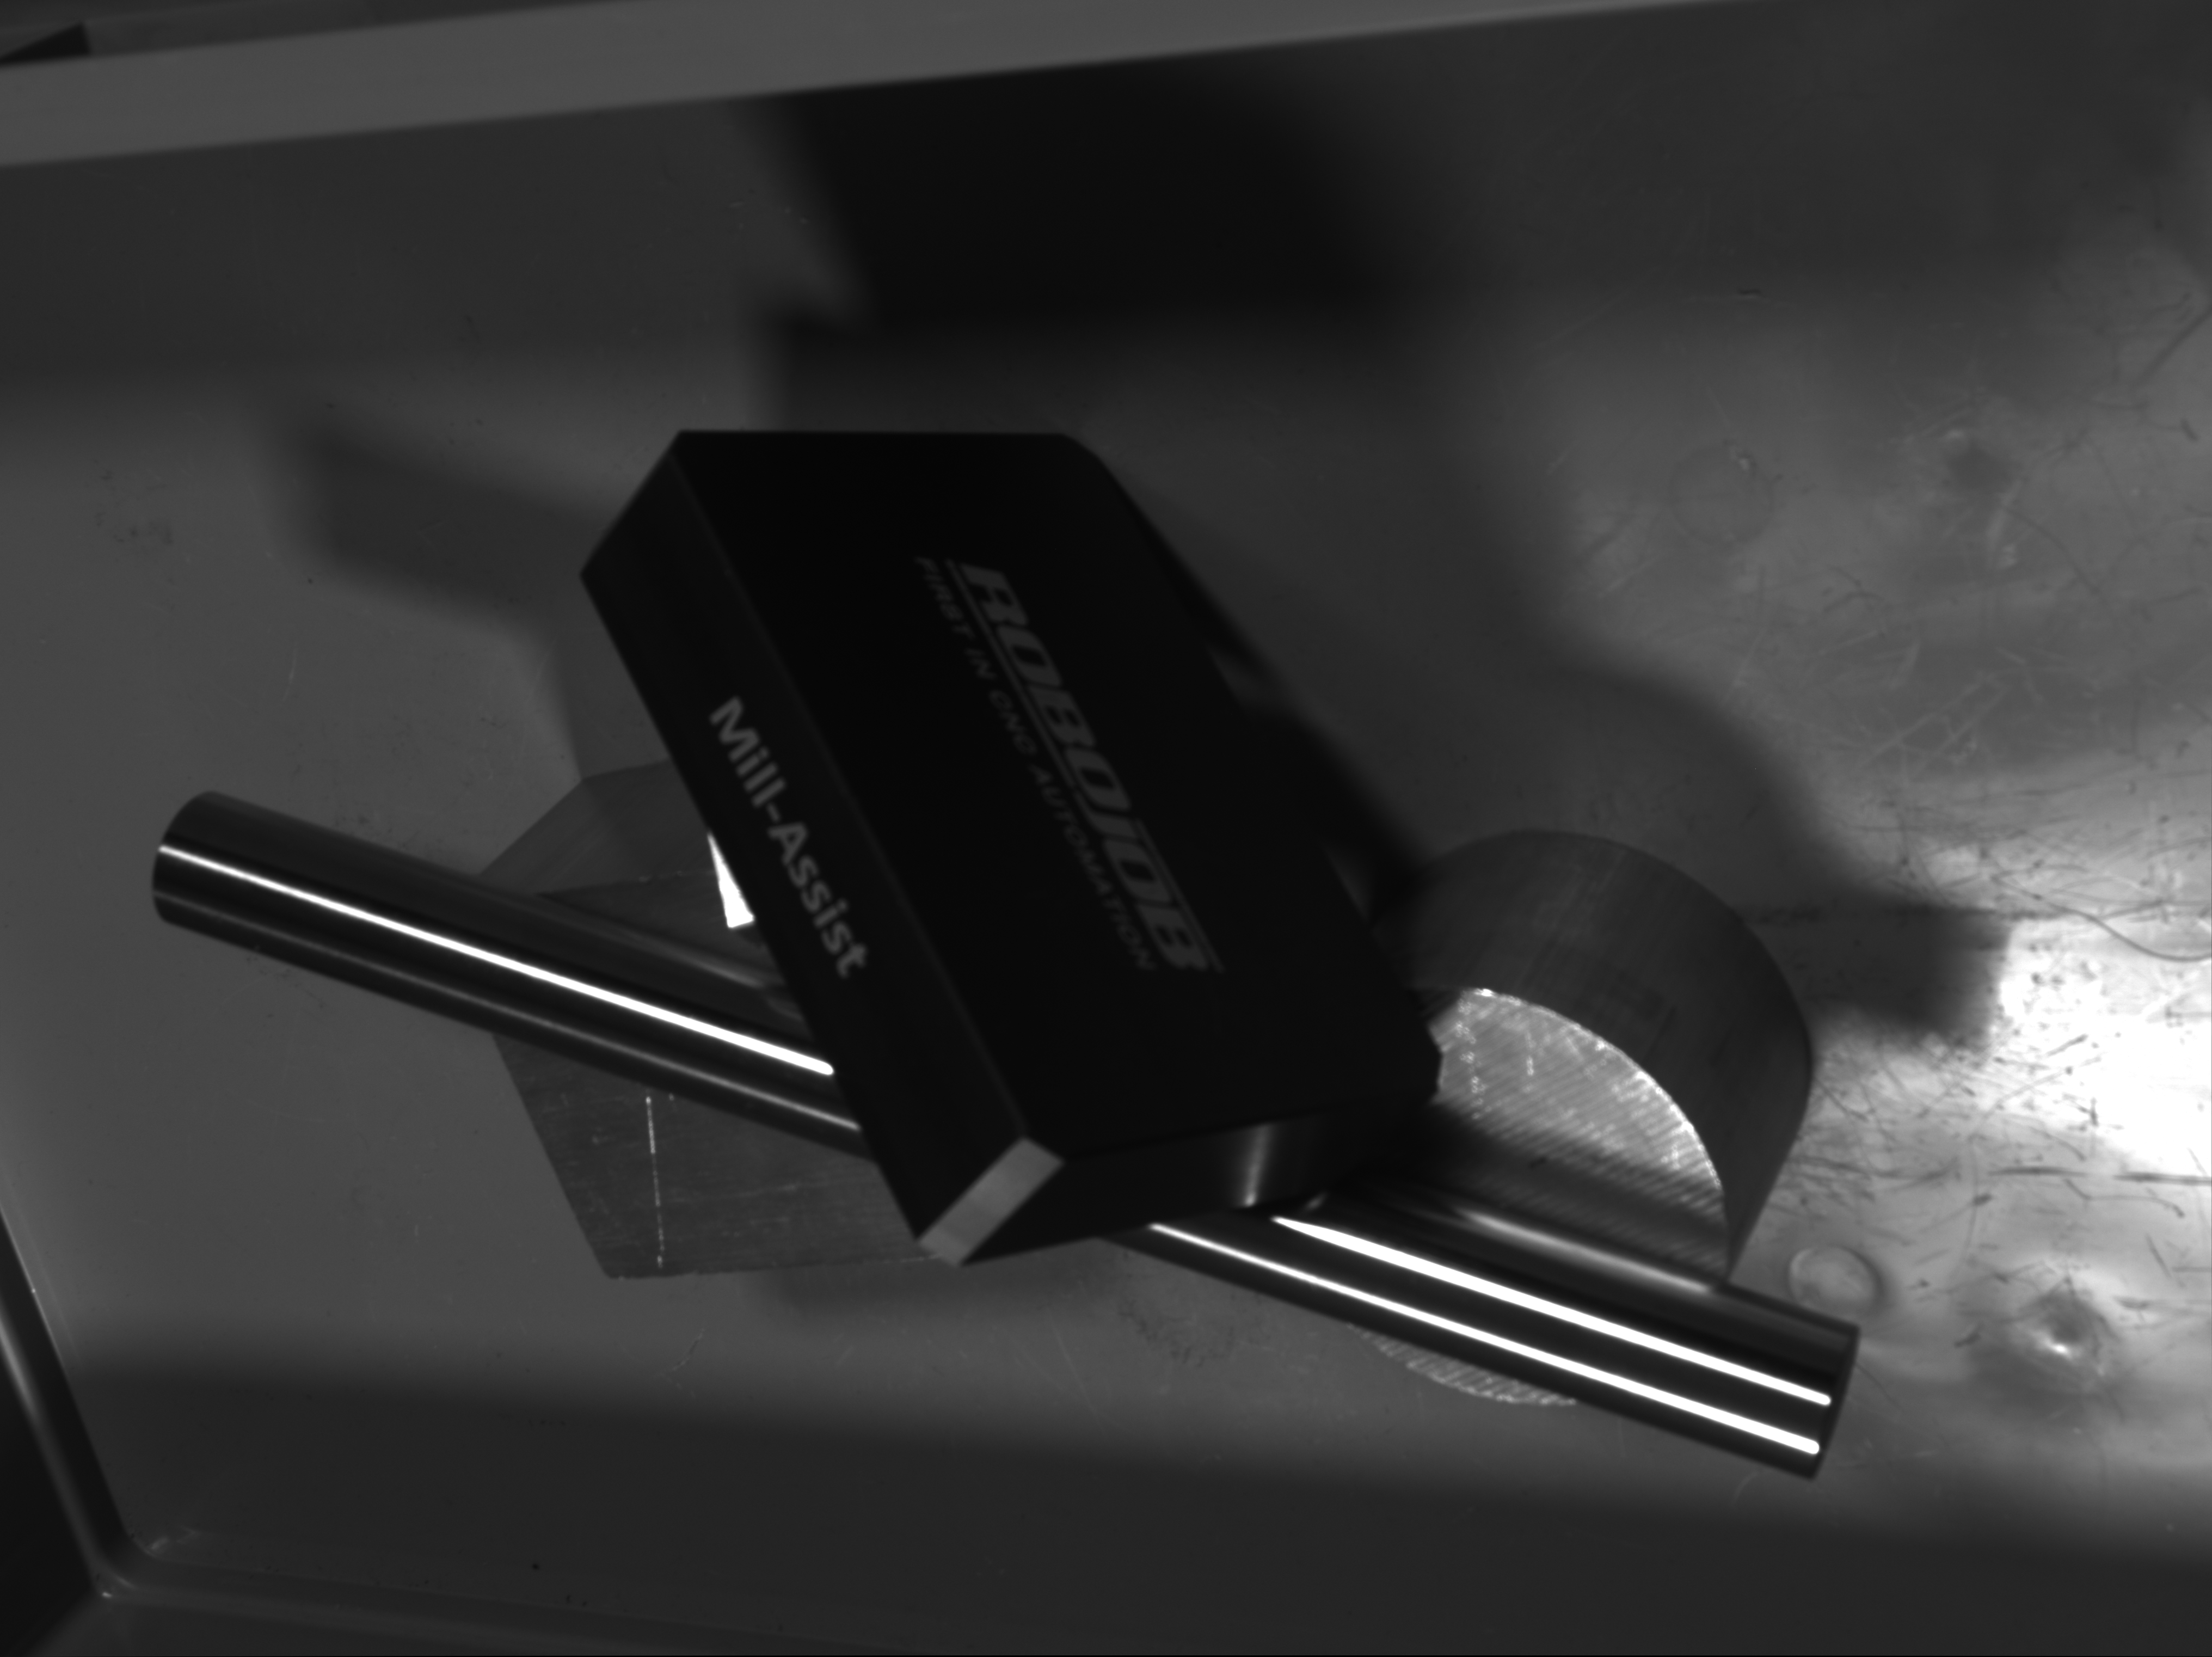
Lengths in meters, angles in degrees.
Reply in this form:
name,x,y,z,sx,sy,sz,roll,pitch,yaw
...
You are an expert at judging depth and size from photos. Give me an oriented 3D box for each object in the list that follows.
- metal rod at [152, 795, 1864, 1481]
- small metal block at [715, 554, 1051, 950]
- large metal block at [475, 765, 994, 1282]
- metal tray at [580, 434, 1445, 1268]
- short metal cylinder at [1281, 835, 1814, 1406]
name,x,y,z,sx,sy,sz,roll,pitch,yaw
metal rod,-0.025,0.047,0.606,0.300,0.025,0.025,17,124,17
small metal block,-0.040,-0.012,0.600,0.050,0.025,0.050,-15,77,4
large metal block,-0.061,0.032,0.665,0.080,0.050,0.080,-8,114,30
metal tray,-0.014,-0.001,0.563,0.030,0.090,0.130,-47,62,37
short metal cylinder,0.072,0.048,0.607,0.080,0.050,0.080,12,123,20
